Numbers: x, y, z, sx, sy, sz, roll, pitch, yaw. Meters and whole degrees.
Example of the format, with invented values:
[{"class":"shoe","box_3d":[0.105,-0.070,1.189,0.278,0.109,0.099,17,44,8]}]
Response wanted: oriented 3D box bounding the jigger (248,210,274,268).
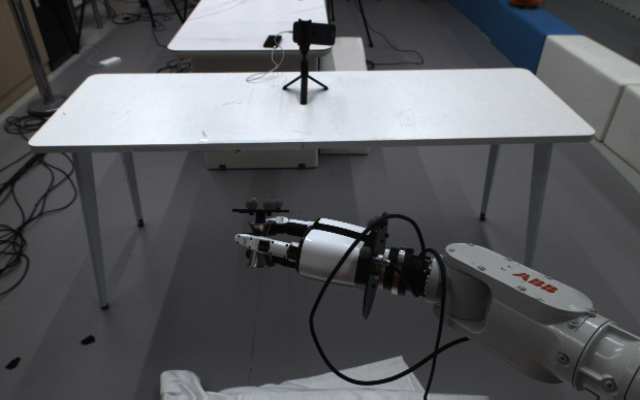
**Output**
[{"class":"jigger","box_3d":[-0.091,0.067,0.748,0.043,0.071,0.043,0,2,0]}]
